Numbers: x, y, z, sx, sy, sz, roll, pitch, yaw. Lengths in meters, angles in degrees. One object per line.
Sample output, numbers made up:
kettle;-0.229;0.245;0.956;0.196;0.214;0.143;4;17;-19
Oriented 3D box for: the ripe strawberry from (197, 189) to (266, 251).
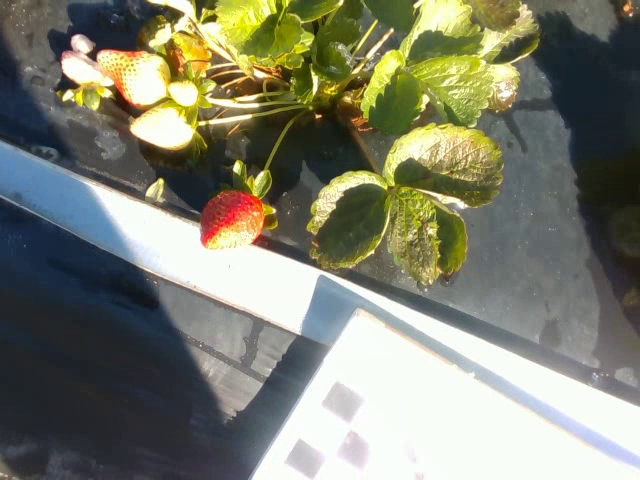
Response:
ripe strawberry;-0.047;-0.007;0.285;0.036;0.038;0.046;31;30;4
